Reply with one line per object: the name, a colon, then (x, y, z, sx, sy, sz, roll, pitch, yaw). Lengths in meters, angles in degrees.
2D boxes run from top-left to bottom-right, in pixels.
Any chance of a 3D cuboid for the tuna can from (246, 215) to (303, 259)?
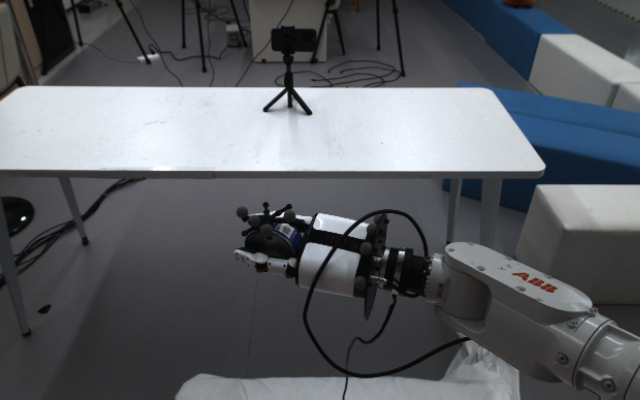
tuna can: (-0.067, 0.068, 0.734, 0.085, 0.085, 0.034, 14, 40, 16)
